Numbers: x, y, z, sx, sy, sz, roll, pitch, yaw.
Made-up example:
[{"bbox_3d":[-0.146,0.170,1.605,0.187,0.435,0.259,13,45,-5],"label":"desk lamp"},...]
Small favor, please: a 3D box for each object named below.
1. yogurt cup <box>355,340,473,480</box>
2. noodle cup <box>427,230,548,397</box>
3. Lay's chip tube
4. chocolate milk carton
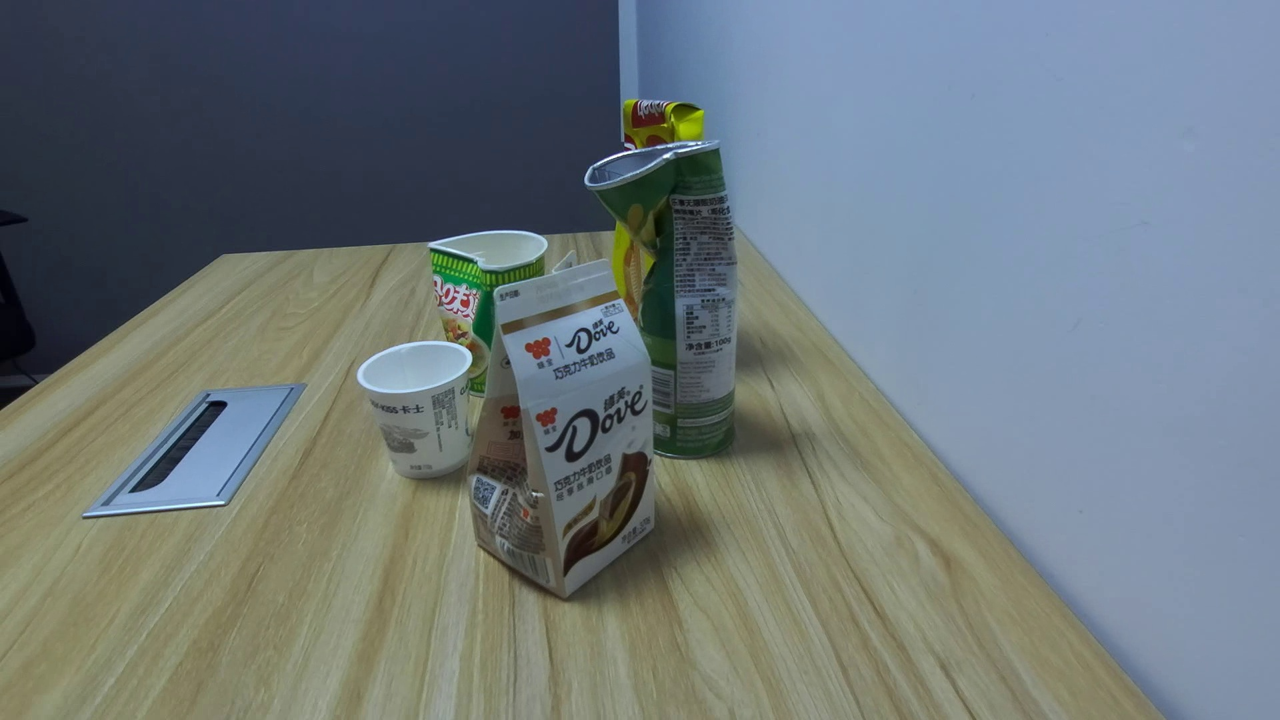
[{"bbox_3d":[-0.139,0.034,0.457,0.072,0.068,0.072,-2,26,1],"label":"yogurt cup"},{"bbox_3d":[-0.108,-0.034,0.543,0.087,0.109,0.093,-11,28,-20],"label":"noodle cup"},{"bbox_3d":[0.019,-0.034,0.444,0.071,0.199,0.078,-19,28,-16],"label":"Lay's chip tube"},{"bbox_3d":[-0.044,0.030,0.360,0.072,0.155,0.084,19,33,37],"label":"chocolate milk carton"}]
